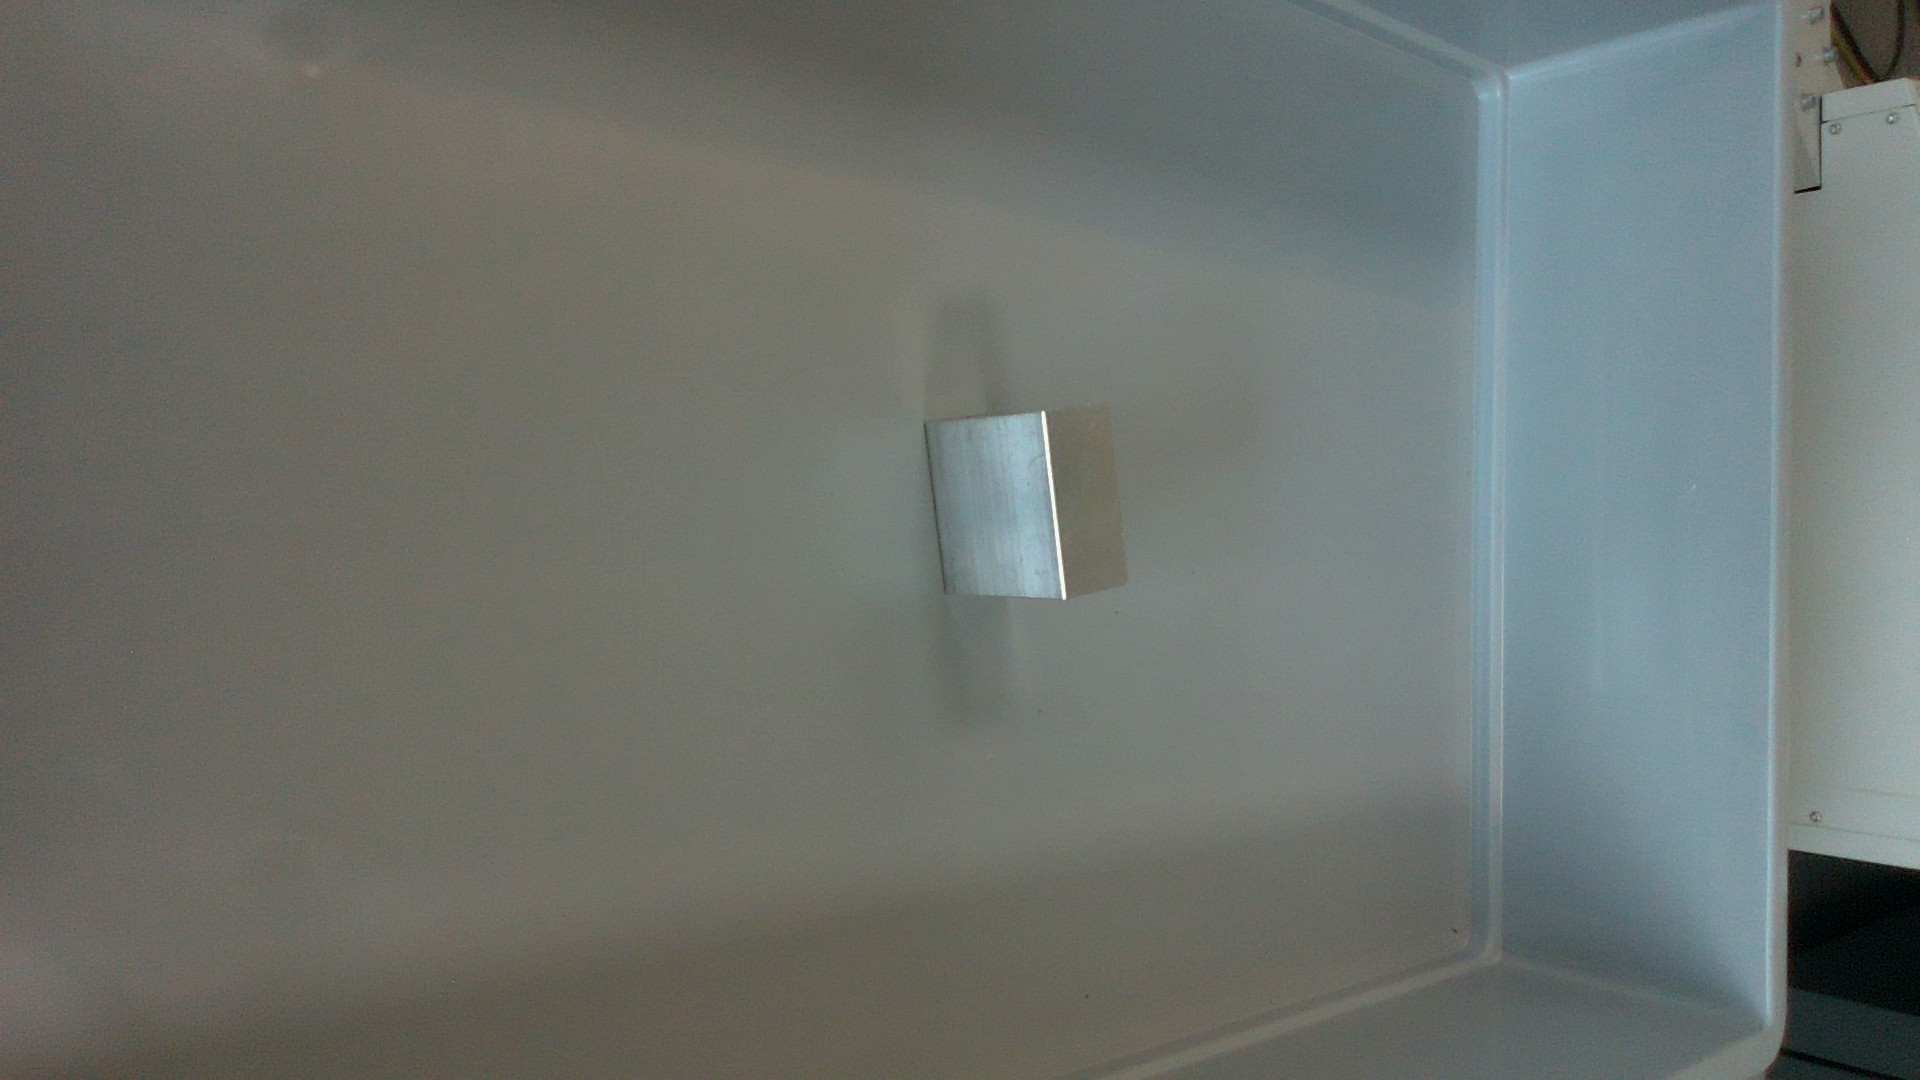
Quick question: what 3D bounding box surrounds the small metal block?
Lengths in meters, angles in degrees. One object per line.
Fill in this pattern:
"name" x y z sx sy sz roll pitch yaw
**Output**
"small metal block" 0.018 -0.011 0.383 0.025 0.050 0.050 -11 97 -39
